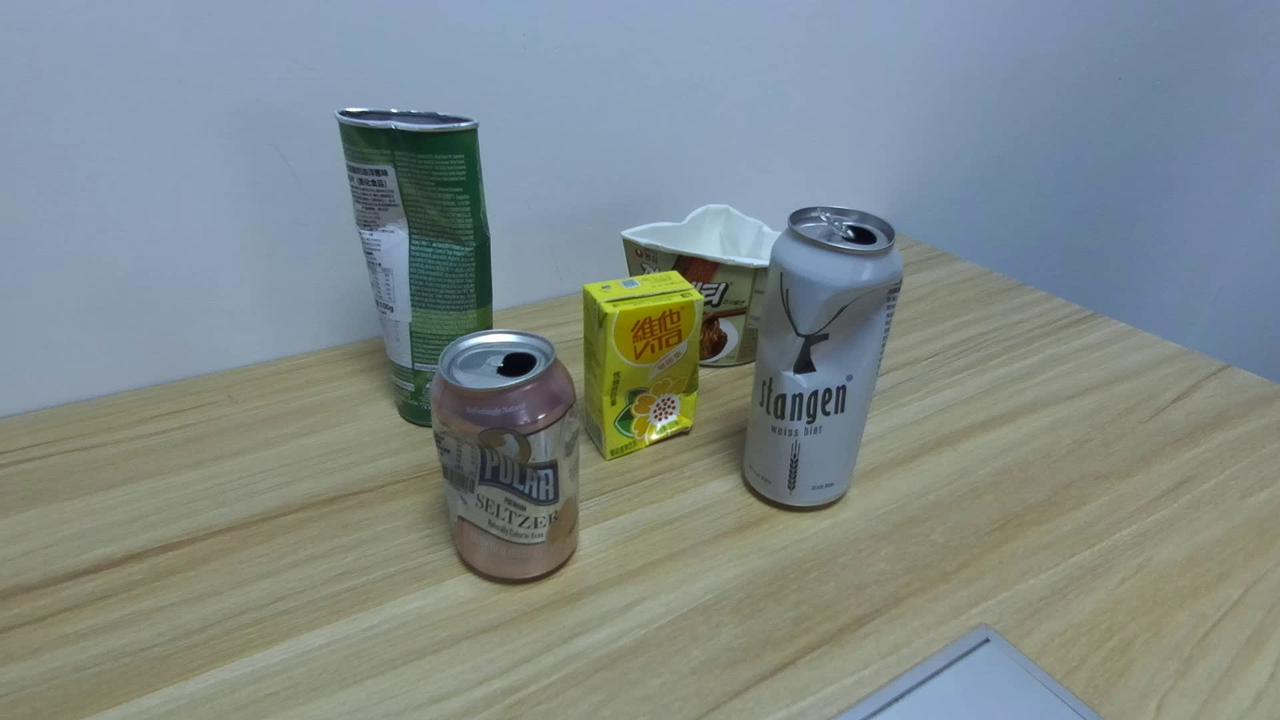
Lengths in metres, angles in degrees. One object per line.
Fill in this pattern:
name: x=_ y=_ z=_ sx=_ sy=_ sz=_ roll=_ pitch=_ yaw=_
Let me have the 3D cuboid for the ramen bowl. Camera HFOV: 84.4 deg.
ramen bowl: x=0.065 y=-0.059 z=0.572 sx=0.133 sy=0.097 sz=0.114 roll=27 pitch=40 yaw=34

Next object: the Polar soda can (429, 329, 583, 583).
Polar soda can: x=-0.065 y=0.051 z=0.358 sx=0.067 sy=0.122 sz=0.074 roll=-14 pitch=32 yaw=-23

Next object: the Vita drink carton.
Vita drink carton: x=0.005 y=0.003 z=0.453 sx=0.076 sy=0.109 sz=0.043 roll=-12 pitch=34 yaw=-21

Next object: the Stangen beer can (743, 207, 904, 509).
Stangen beer can: x=0.099 y=0.003 z=0.393 sx=0.070 sy=0.173 sz=0.070 roll=11 pitch=33 yaw=16

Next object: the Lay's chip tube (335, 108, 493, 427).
Lay's chip tube: x=-0.137 y=-0.055 z=0.459 sx=0.075 sy=0.199 sz=0.068 roll=-12 pitch=34 yaw=-21
